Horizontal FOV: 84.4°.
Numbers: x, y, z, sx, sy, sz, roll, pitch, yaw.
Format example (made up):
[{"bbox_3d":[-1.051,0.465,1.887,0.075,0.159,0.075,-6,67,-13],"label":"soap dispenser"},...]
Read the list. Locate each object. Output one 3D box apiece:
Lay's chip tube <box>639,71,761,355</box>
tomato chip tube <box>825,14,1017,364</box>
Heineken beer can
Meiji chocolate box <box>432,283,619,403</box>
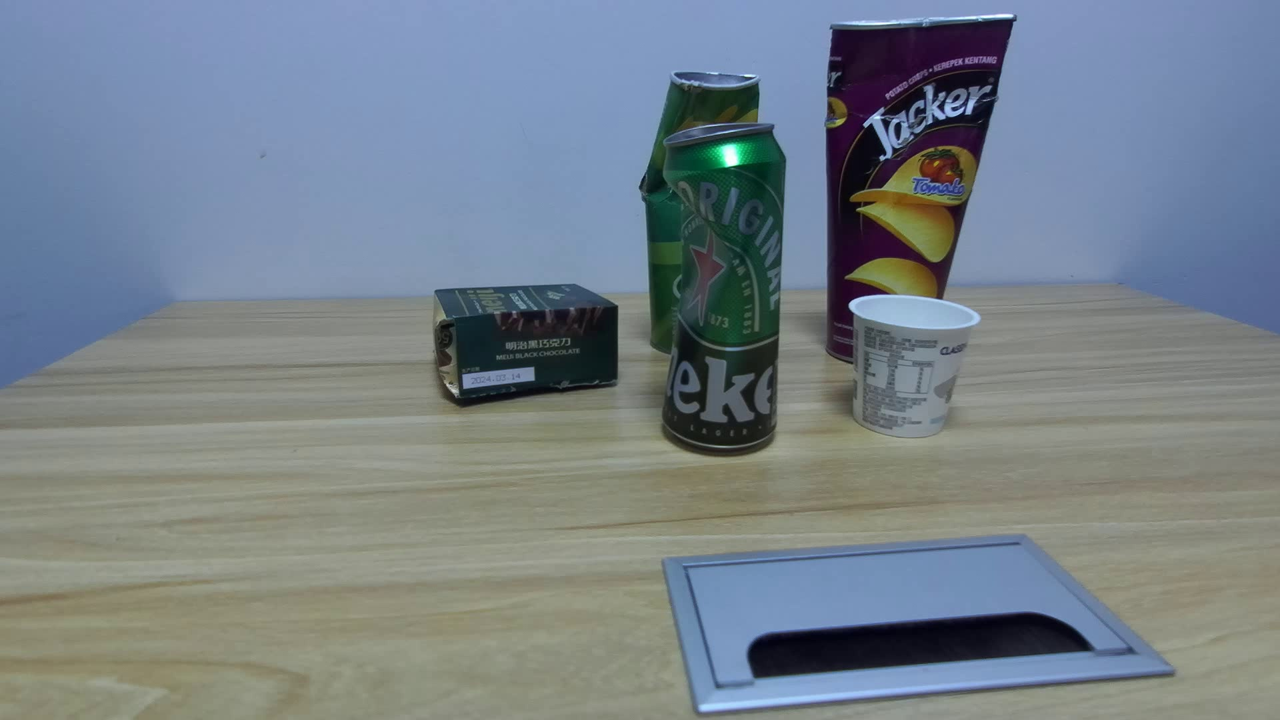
[{"bbox_3d":[0.045,-0.103,0.506,0.069,0.201,0.077,5,13,26],"label":"Lay's chip tube"},{"bbox_3d":[0.183,-0.115,0.507,0.078,0.236,0.089,-8,23,-22],"label":"tomato chip tube"},{"bbox_3d":[0.043,-0.036,0.379,0.069,0.168,0.068,9,21,32],"label":"Heineken beer can"},{"bbox_3d":[-0.083,-0.017,0.497,0.123,0.058,0.115,-6,17,-20],"label":"Meiji chocolate box"}]
